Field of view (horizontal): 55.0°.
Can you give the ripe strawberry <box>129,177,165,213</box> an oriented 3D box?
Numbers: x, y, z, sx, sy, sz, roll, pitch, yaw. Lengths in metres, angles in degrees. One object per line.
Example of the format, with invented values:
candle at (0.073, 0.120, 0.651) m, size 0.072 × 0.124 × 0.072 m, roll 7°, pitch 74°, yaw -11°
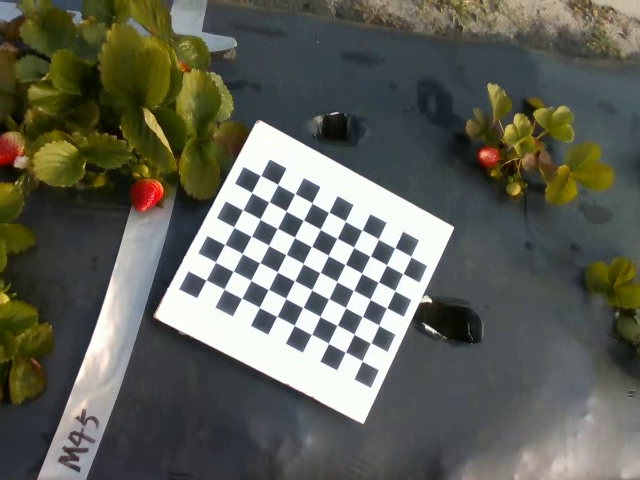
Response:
ripe strawberry at (-0.194, -0.047, 0.678) m, size 0.050 × 0.055 × 0.036 m, roll 23°, pitch -28°, yaw -13°
